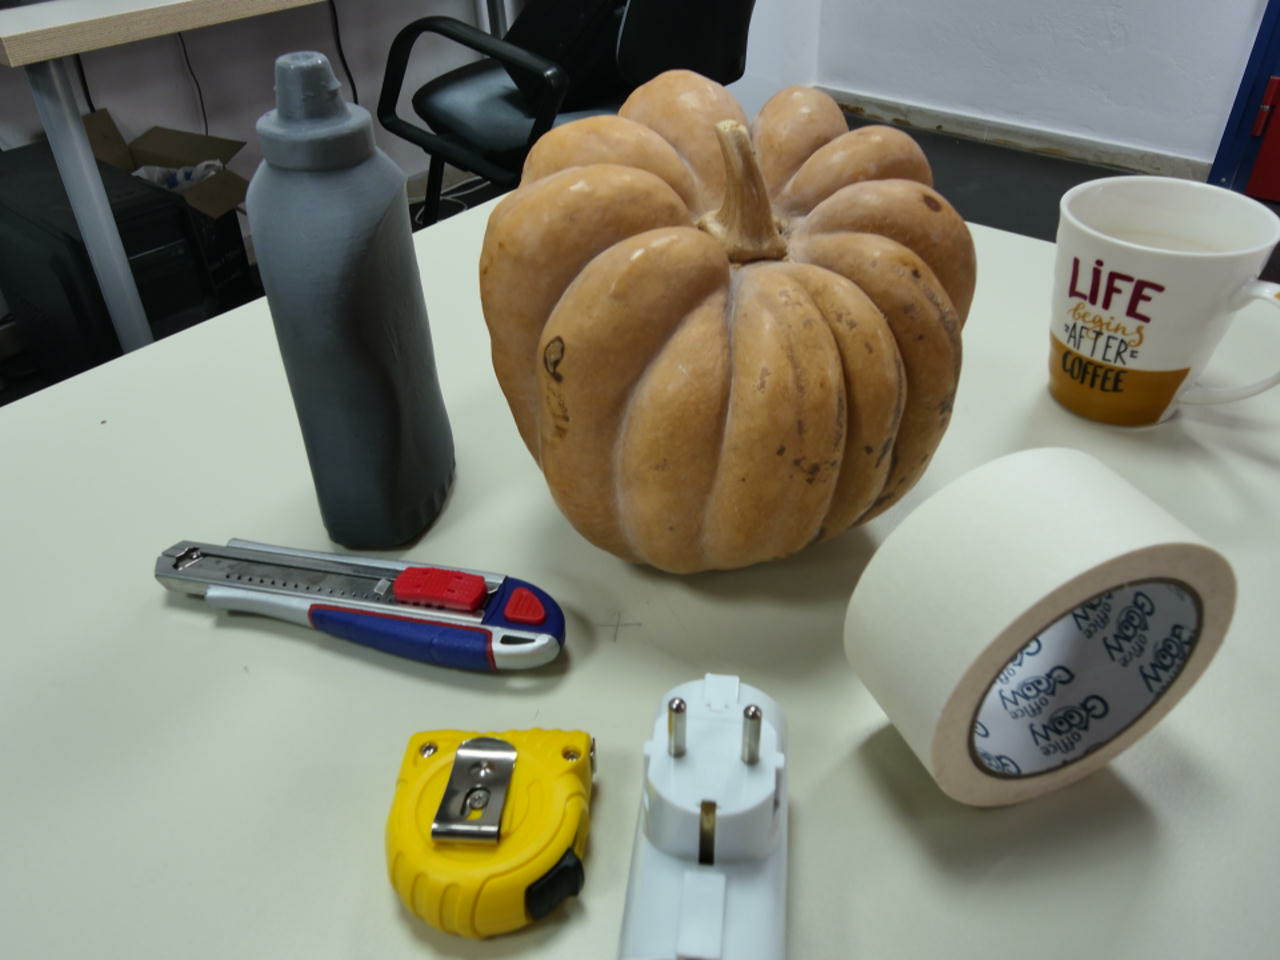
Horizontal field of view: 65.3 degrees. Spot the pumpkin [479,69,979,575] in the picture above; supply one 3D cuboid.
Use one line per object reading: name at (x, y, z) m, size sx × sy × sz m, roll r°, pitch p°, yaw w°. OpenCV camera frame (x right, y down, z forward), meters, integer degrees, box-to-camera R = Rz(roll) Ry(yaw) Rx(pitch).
pumpkin at (0.033, -0.059, 0.403) m, size 0.199 × 0.177 × 0.198 m, roll 0°, pitch 36°, yaw 0°
